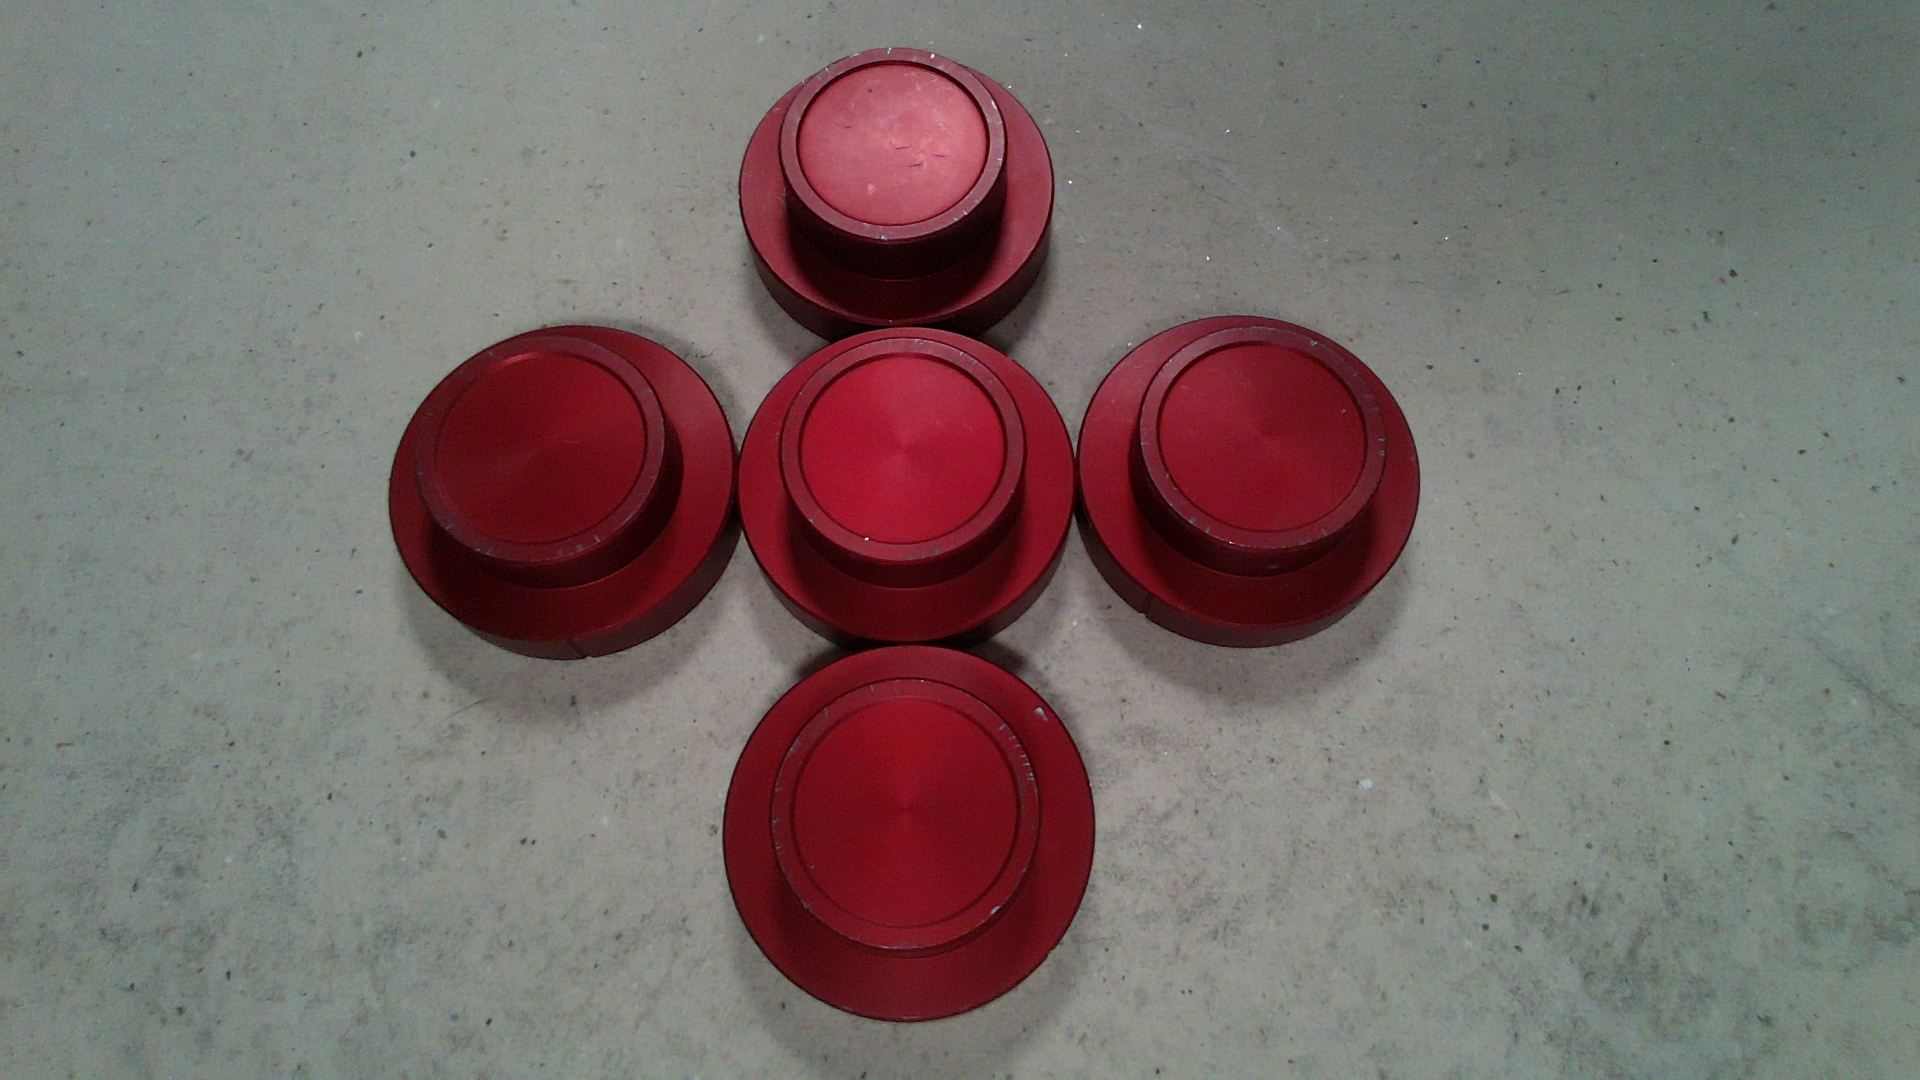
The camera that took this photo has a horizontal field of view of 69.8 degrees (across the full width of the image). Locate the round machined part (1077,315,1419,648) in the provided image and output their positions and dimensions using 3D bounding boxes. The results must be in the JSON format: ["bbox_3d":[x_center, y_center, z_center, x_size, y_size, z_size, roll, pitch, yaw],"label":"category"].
[{"bbox_3d":[0.083,-0.022,0.394,0.098,0.042,0.098,0,70,0],"label":"round machined part"}]

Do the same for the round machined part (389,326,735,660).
[{"bbox_3d":[-0.114,-0.018,0.392,0.098,0.042,0.098,0,70,0],"label":"round machined part"}]

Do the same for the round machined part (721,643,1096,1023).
[{"bbox_3d":[-0.013,0.074,0.358,0.098,0.042,0.098,0,70,0],"label":"round machined part"}]

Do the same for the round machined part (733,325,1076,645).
[{"bbox_3d":[-0.016,-0.019,0.393,0.098,0.042,0.098,0,70,0],"label":"round machined part"}]

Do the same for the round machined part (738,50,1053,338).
[{"bbox_3d":[-0.020,-0.111,0.426,0.098,0.042,0.098,0,70,0],"label":"round machined part"}]
